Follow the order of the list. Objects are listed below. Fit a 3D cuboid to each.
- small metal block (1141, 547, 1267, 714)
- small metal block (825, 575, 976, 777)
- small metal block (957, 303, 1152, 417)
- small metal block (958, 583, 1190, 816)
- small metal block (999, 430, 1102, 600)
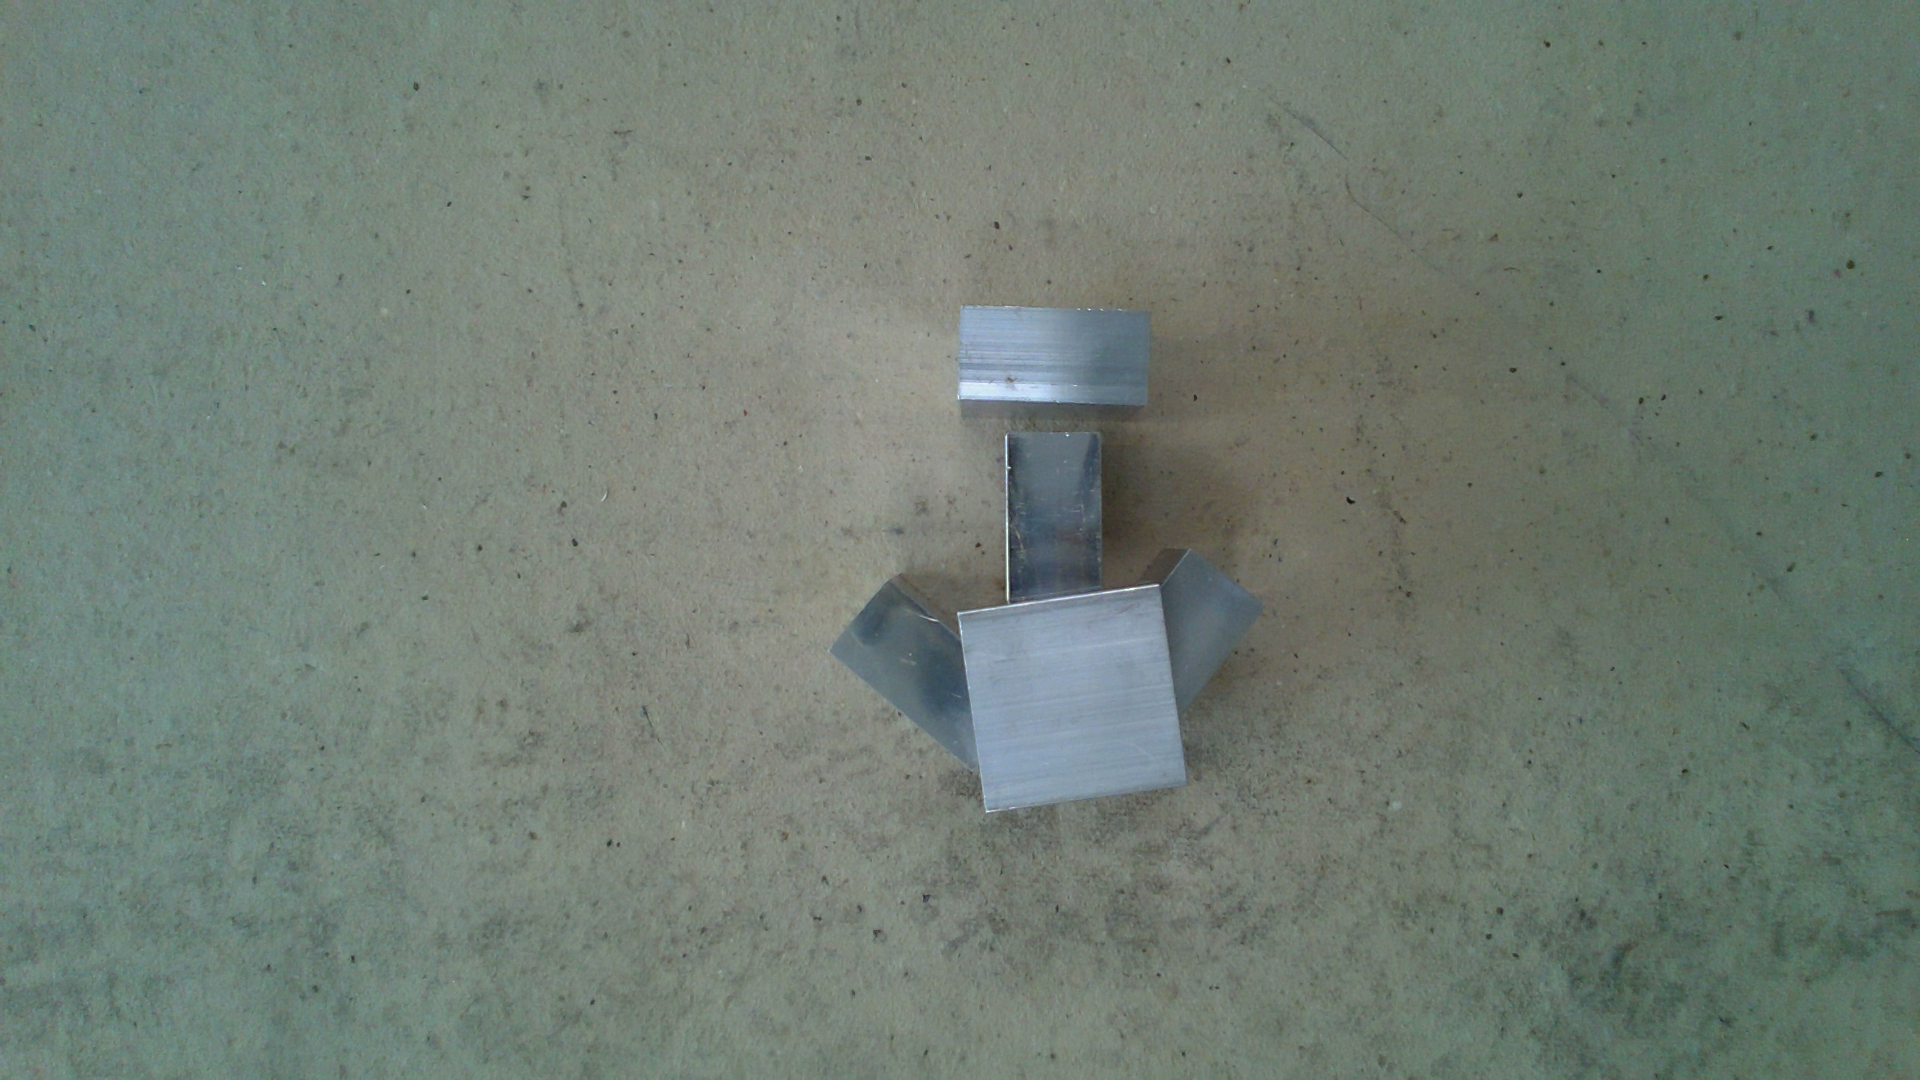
[{"bbox_3d":[0.055,0.029,0.384,0.025,0.050,0.050,37,90,0],"label":"small metal block"},{"bbox_3d":[-0.008,0.036,0.383,0.050,0.050,0.025,40,90,-1],"label":"small metal block"},{"bbox_3d":[0.025,-0.048,0.383,0.050,0.050,0.025,2,90,0],"label":"small metal block"},{"bbox_3d":[0.028,0.039,0.347,0.050,0.025,0.050,-8,90,0],"label":"small metal block"},{"bbox_3d":[0.024,-0.003,0.384,0.025,0.050,0.050,-1,90,-1],"label":"small metal block"}]
